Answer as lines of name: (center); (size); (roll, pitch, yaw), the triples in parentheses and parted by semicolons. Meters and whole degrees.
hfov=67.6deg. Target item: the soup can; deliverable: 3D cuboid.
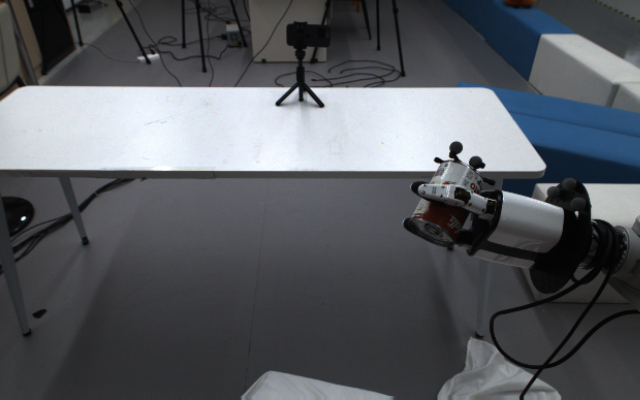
soup can: (0.175, 0.004, 0.663); (0.067, 0.067, 0.101); (22, 71, 26)
